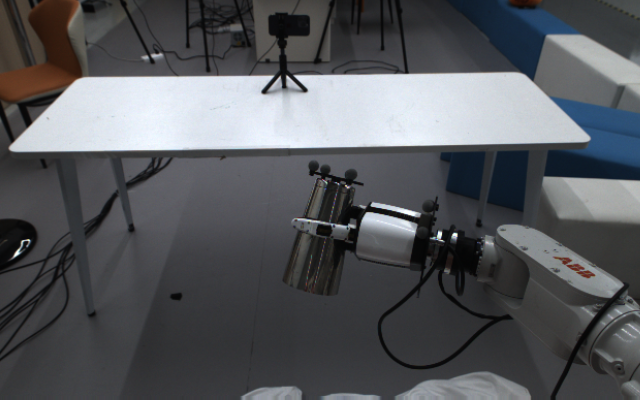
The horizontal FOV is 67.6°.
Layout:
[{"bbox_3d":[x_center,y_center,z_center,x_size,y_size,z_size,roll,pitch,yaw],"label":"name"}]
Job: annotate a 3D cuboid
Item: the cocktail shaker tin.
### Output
[{"bbox_3d":[0.003,0.055,0.770,0.093,0.170,0.093,14,2,0],"label":"cocktail shaker tin"}]
